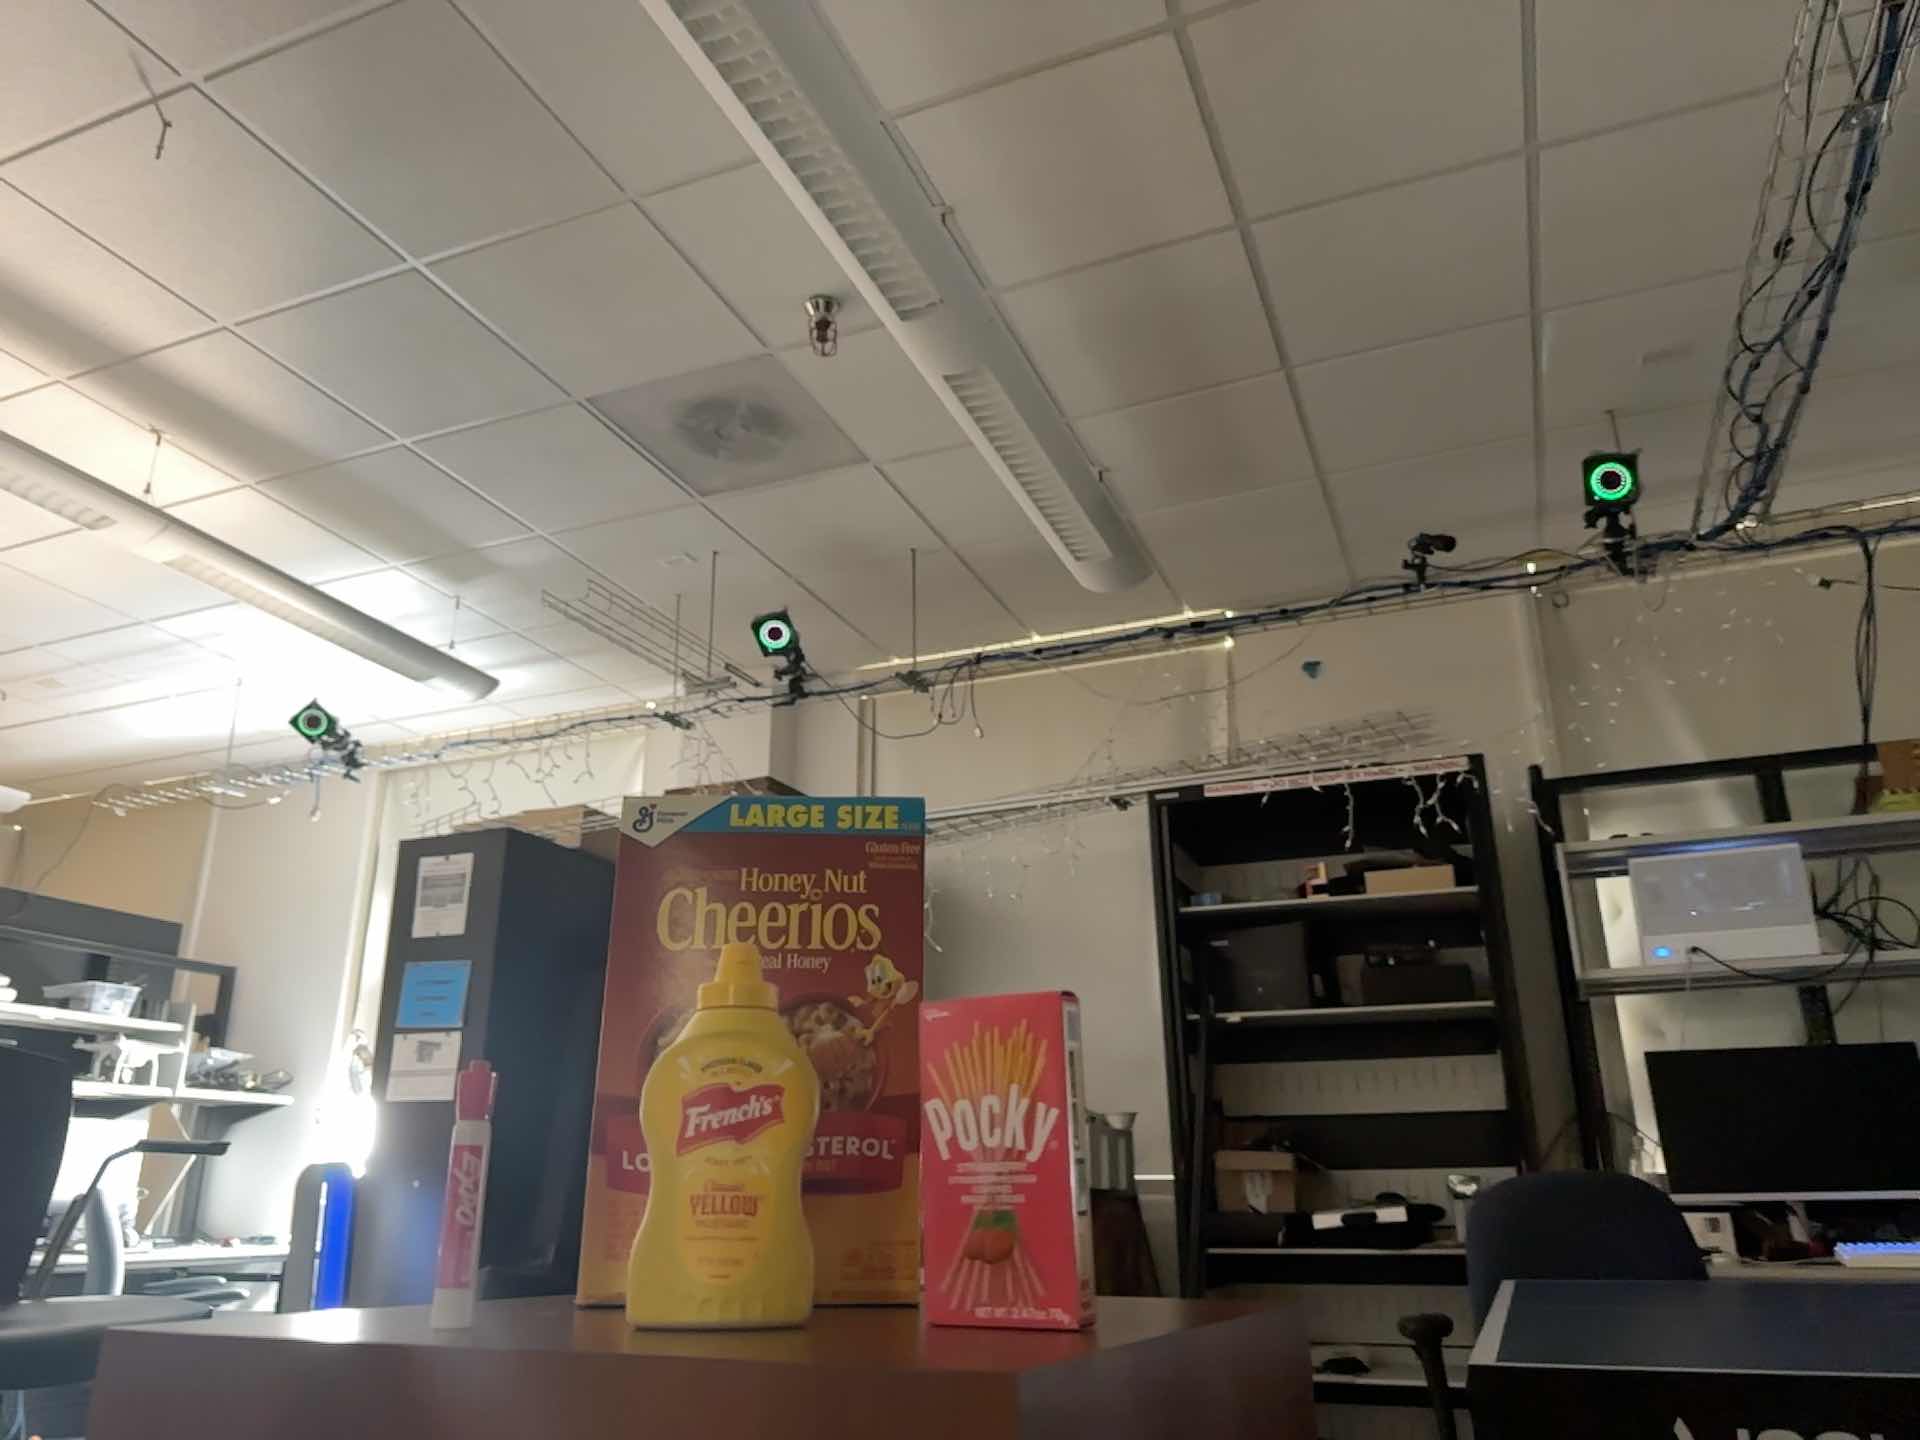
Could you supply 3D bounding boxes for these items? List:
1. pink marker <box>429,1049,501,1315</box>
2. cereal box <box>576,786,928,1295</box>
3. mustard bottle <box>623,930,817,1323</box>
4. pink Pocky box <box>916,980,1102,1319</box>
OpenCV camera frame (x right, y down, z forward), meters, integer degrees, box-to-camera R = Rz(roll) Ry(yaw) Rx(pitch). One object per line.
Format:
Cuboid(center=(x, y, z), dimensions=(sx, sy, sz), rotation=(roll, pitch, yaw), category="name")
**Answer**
Cuboid(center=(-0.239, 0.221, 0.654), dimensions=(0.020, 0.121, 0.020), rotation=(1, -19, 0), category="pink marker")
Cuboid(center=(-0.123, 0.194, 0.852), dimensions=(0.195, 0.296, 0.065), rotation=(2, -19, -5), category="cereal box")
Cuboid(center=(-0.117, 0.196, 0.670), dimensions=(0.092, 0.184, 0.054), rotation=(-1, -18, -2), category="mustard bottle")
Cuboid(center=(0.022, 0.208, 0.661), dimensions=(0.084, 0.154, 0.029), rotation=(-8, -20, 20), category="pink Pocky box")
